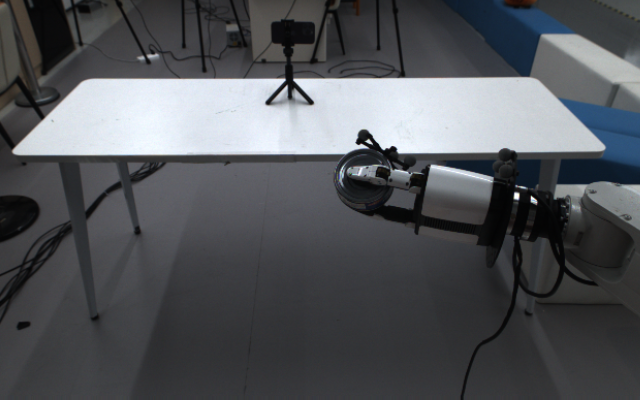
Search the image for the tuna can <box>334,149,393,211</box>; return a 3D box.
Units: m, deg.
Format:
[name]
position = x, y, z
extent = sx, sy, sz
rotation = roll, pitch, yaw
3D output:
[tuna can]
position = 0.066, -0.024, 0.686
extent = 0.085, 0.034, 0.085
rotation = -4, 69, 10
